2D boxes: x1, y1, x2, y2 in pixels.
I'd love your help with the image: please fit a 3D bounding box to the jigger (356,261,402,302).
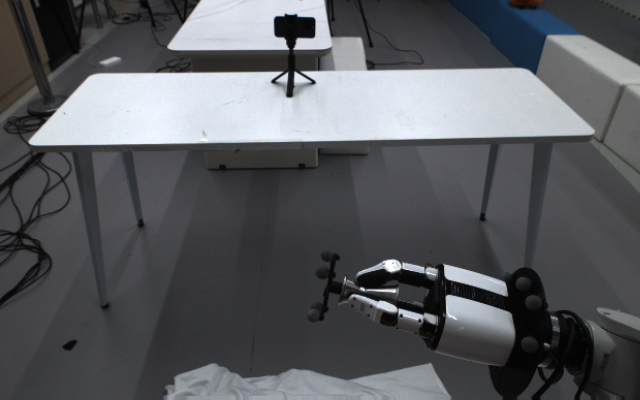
[{"bbox_3d":[0.067,0.117,0.606,0.071,0.043,0.043,12,36,5],"label":"jigger"}]
